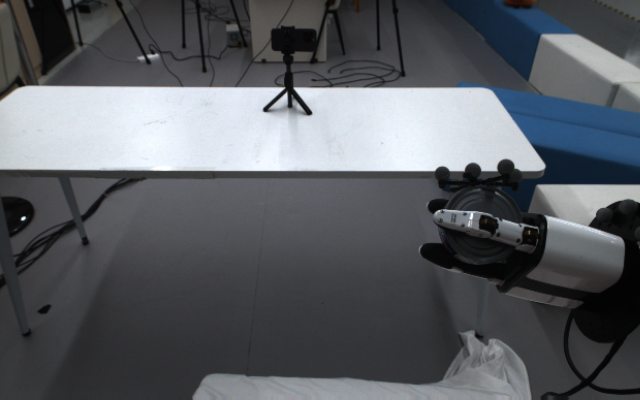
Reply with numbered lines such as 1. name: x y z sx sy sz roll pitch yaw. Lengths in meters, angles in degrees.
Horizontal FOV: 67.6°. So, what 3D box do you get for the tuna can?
1. tuna can: 0.178 0.027 0.540 0.085 0.034 0.085 -1 78 4
